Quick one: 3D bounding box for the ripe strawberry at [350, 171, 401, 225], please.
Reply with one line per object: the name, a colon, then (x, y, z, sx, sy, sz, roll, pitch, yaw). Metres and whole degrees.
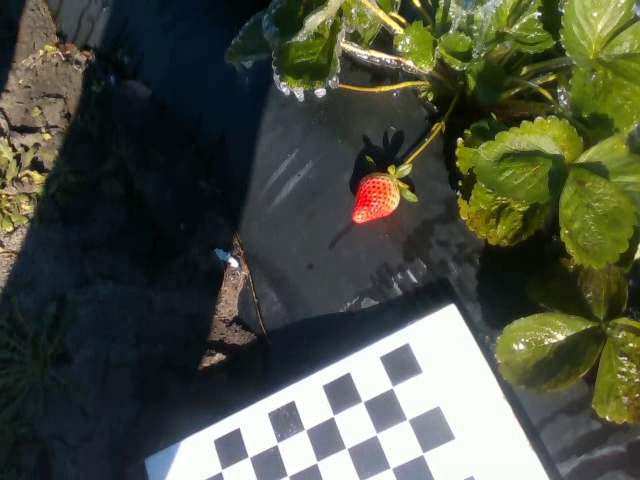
ripe strawberry: (0.042, -0.029, 0.466, 0.039, 0.053, 0.041, 41, -17, 27)
